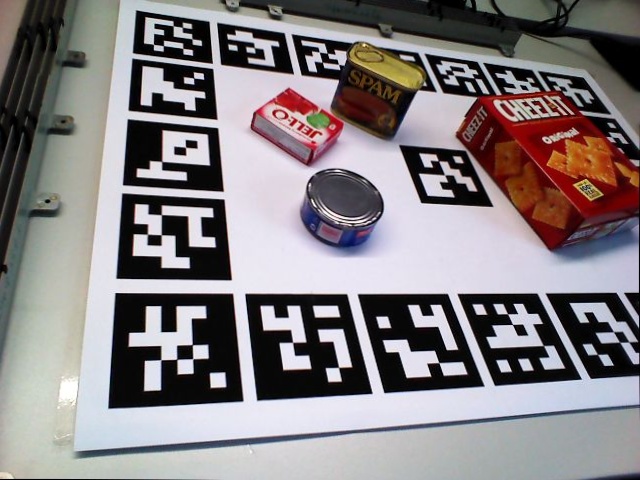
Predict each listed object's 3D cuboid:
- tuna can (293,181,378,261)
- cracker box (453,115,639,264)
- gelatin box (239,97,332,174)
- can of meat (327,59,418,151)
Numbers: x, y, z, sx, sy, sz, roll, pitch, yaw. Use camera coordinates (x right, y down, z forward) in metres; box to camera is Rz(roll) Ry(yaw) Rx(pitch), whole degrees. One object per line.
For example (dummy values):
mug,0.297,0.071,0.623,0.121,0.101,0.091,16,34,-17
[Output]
tuna can,0.015,-0.020,0.551,0.086,0.034,0.085,8,53,-12
cracker box,0.310,-0.081,0.688,0.163,0.072,0.213,-12,54,-29
gelatin box,-0.041,-0.130,0.630,0.089,0.030,0.073,35,46,8
can of meat,0.063,-0.174,0.677,0.102,0.084,0.057,24,47,3
